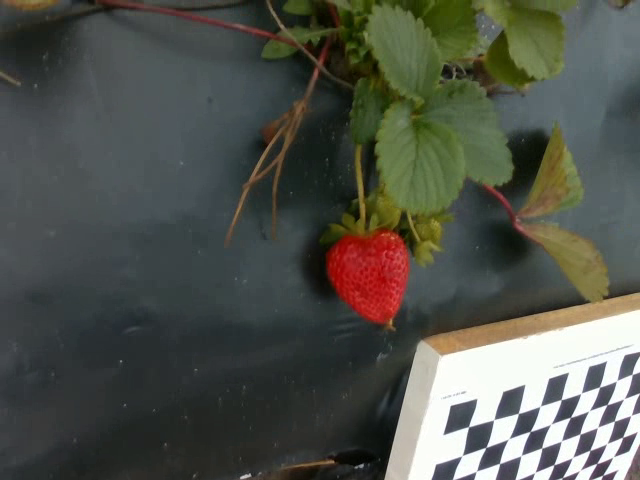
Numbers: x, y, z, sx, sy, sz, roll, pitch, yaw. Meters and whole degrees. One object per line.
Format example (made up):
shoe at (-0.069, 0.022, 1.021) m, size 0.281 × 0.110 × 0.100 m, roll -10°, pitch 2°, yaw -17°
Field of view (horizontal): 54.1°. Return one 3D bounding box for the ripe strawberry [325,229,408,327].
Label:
ripe strawberry at (0.009, 0.006, 0.096) m, size 0.018 × 0.017 × 0.014 m, roll -3°, pitch -18°, yaw -45°
